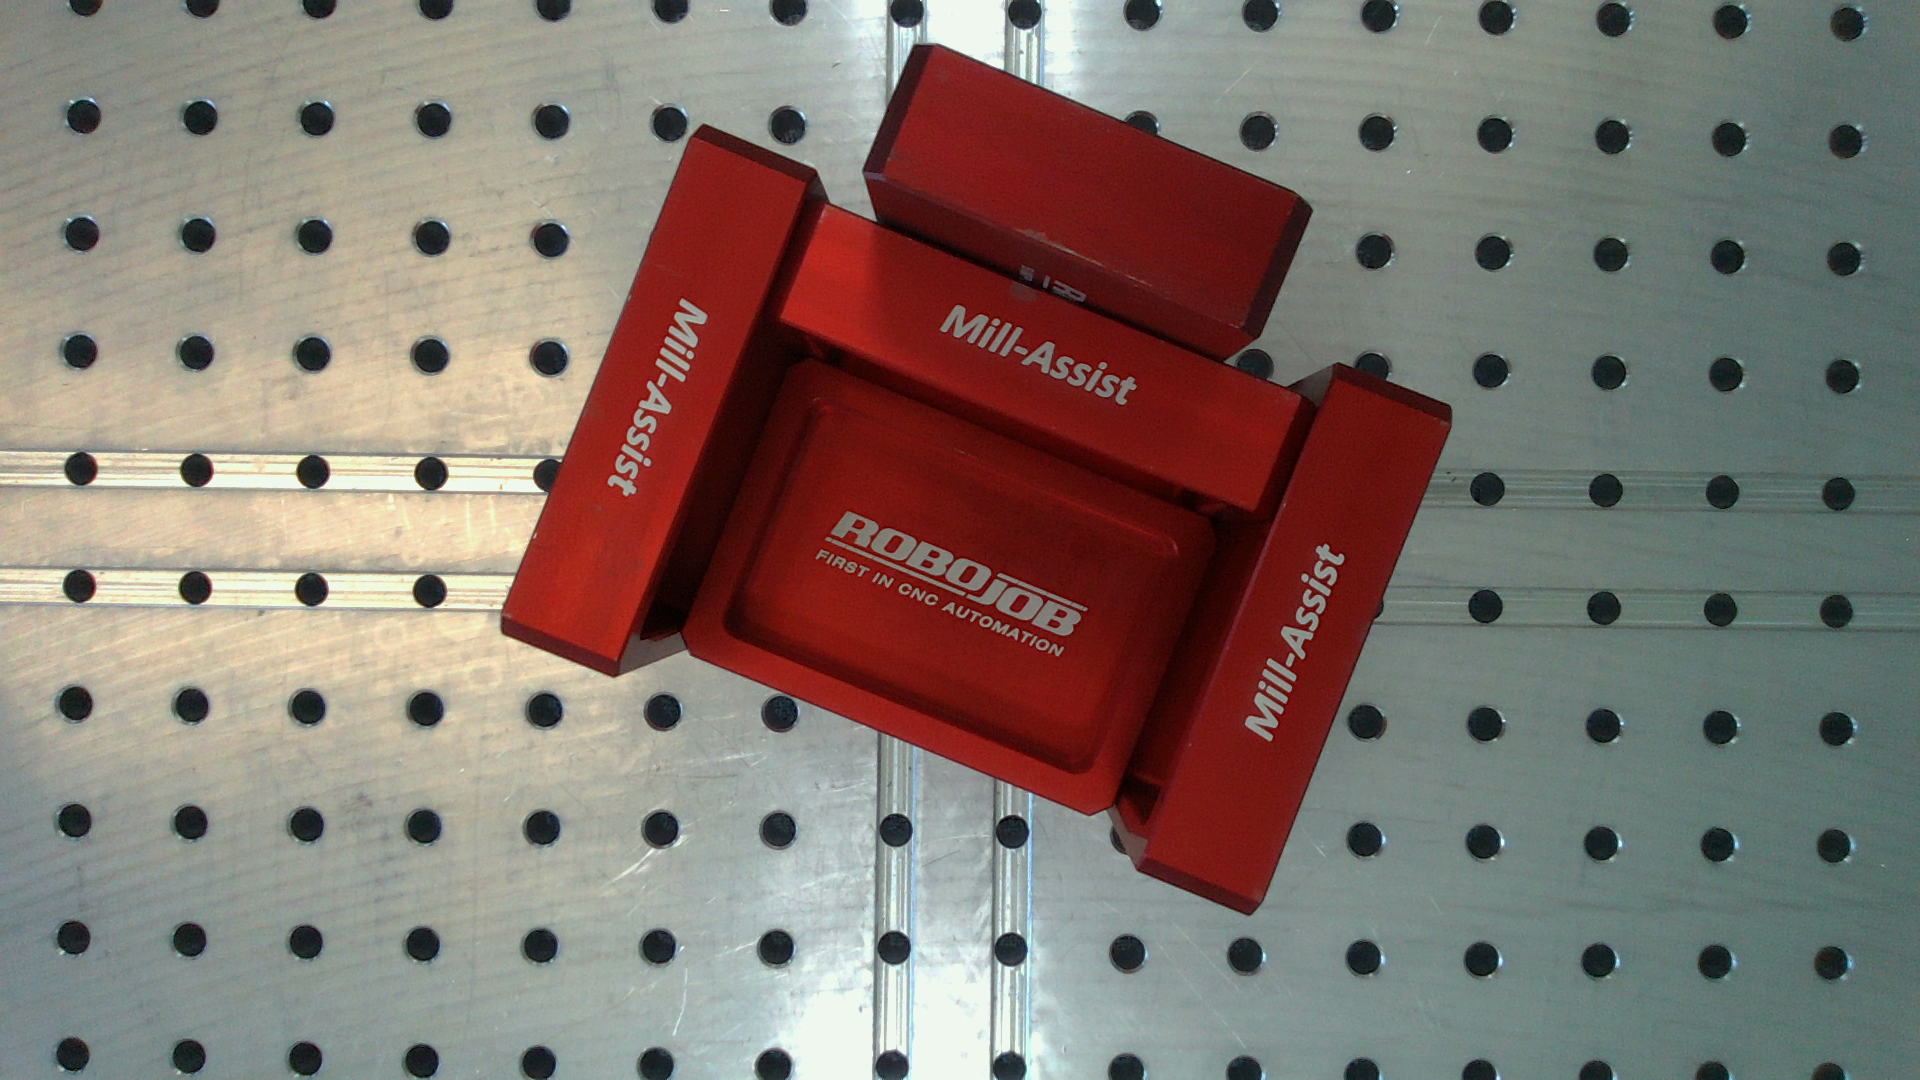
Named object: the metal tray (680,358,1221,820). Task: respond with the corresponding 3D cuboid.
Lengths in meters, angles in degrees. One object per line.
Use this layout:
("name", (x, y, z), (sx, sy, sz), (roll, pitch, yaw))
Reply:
("metal tray", (-0.003, 0.013, 0.395), (0.130, 0.030, 0.090), (22, 90, -1))

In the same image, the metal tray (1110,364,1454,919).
("metal tray", (0.079, 0.024, 0.365), (0.030, 0.090, 0.130), (22, 90, 0))

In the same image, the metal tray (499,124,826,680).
("metal tray", (-0.071, -0.033, 0.364), (0.030, 0.090, 0.130), (22, 90, 0))

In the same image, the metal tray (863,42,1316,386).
("metal tray", (0.027, -0.073, 0.344), (0.090, 0.130, 0.030), (23, 91, 0))

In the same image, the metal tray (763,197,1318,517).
("metal tray", (0.019, -0.044, 0.365), (0.130, 0.090, 0.030), (22, 91, -1))
